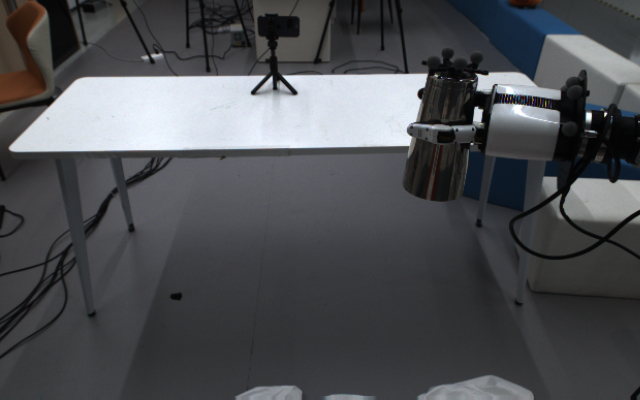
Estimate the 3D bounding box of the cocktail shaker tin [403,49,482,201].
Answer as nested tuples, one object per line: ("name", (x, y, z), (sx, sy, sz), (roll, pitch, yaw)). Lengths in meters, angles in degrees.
("cocktail shaker tin", (0.176, -0.096, 0.688), (0.093, 0.170, 0.093), (2, 30, -1))
